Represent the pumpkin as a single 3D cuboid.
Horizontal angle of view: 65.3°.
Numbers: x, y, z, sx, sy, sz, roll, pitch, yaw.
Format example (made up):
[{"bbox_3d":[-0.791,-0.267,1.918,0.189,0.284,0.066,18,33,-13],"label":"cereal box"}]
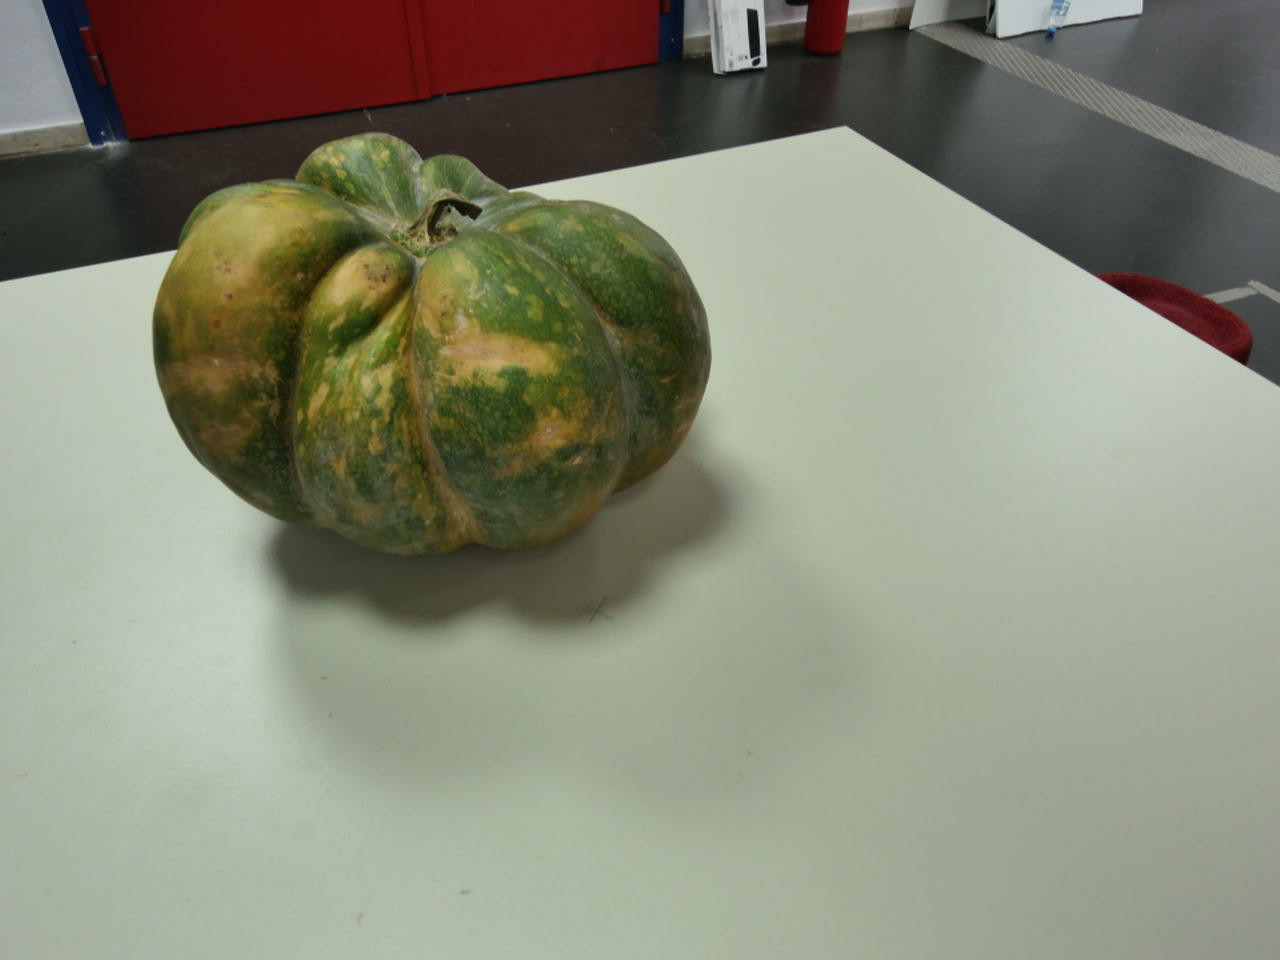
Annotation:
[{"bbox_3d":[-0.099,-0.073,0.491,0.270,0.173,0.237,8,39,9],"label":"pumpkin"}]
